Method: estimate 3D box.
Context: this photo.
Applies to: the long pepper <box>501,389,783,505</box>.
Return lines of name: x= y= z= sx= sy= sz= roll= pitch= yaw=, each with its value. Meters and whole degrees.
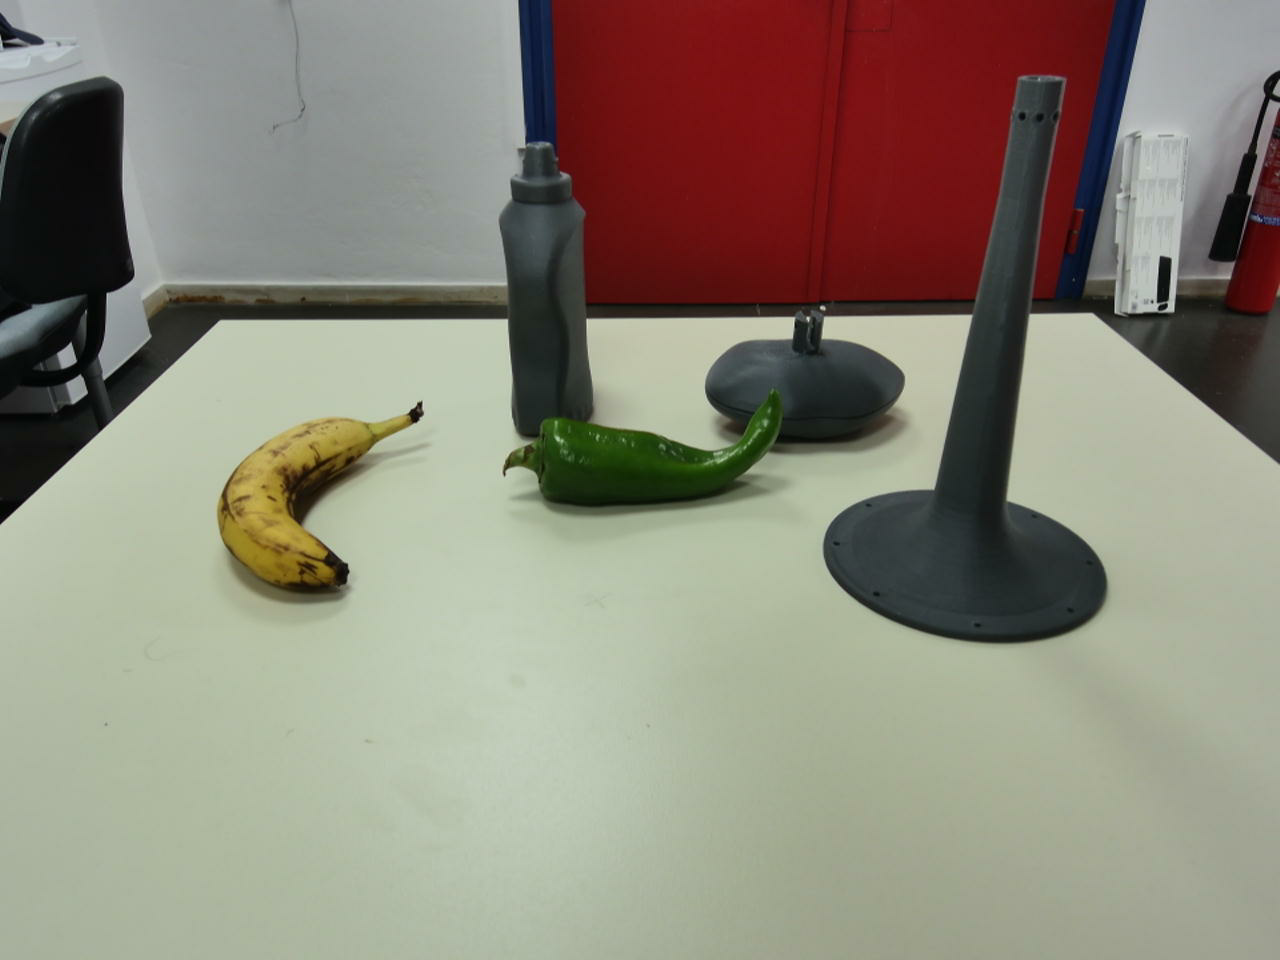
long pepper: x=0.002 y=-0.021 z=0.617 sx=0.175 sy=0.065 sz=0.058 roll=-1 pitch=27 yaw=-2
